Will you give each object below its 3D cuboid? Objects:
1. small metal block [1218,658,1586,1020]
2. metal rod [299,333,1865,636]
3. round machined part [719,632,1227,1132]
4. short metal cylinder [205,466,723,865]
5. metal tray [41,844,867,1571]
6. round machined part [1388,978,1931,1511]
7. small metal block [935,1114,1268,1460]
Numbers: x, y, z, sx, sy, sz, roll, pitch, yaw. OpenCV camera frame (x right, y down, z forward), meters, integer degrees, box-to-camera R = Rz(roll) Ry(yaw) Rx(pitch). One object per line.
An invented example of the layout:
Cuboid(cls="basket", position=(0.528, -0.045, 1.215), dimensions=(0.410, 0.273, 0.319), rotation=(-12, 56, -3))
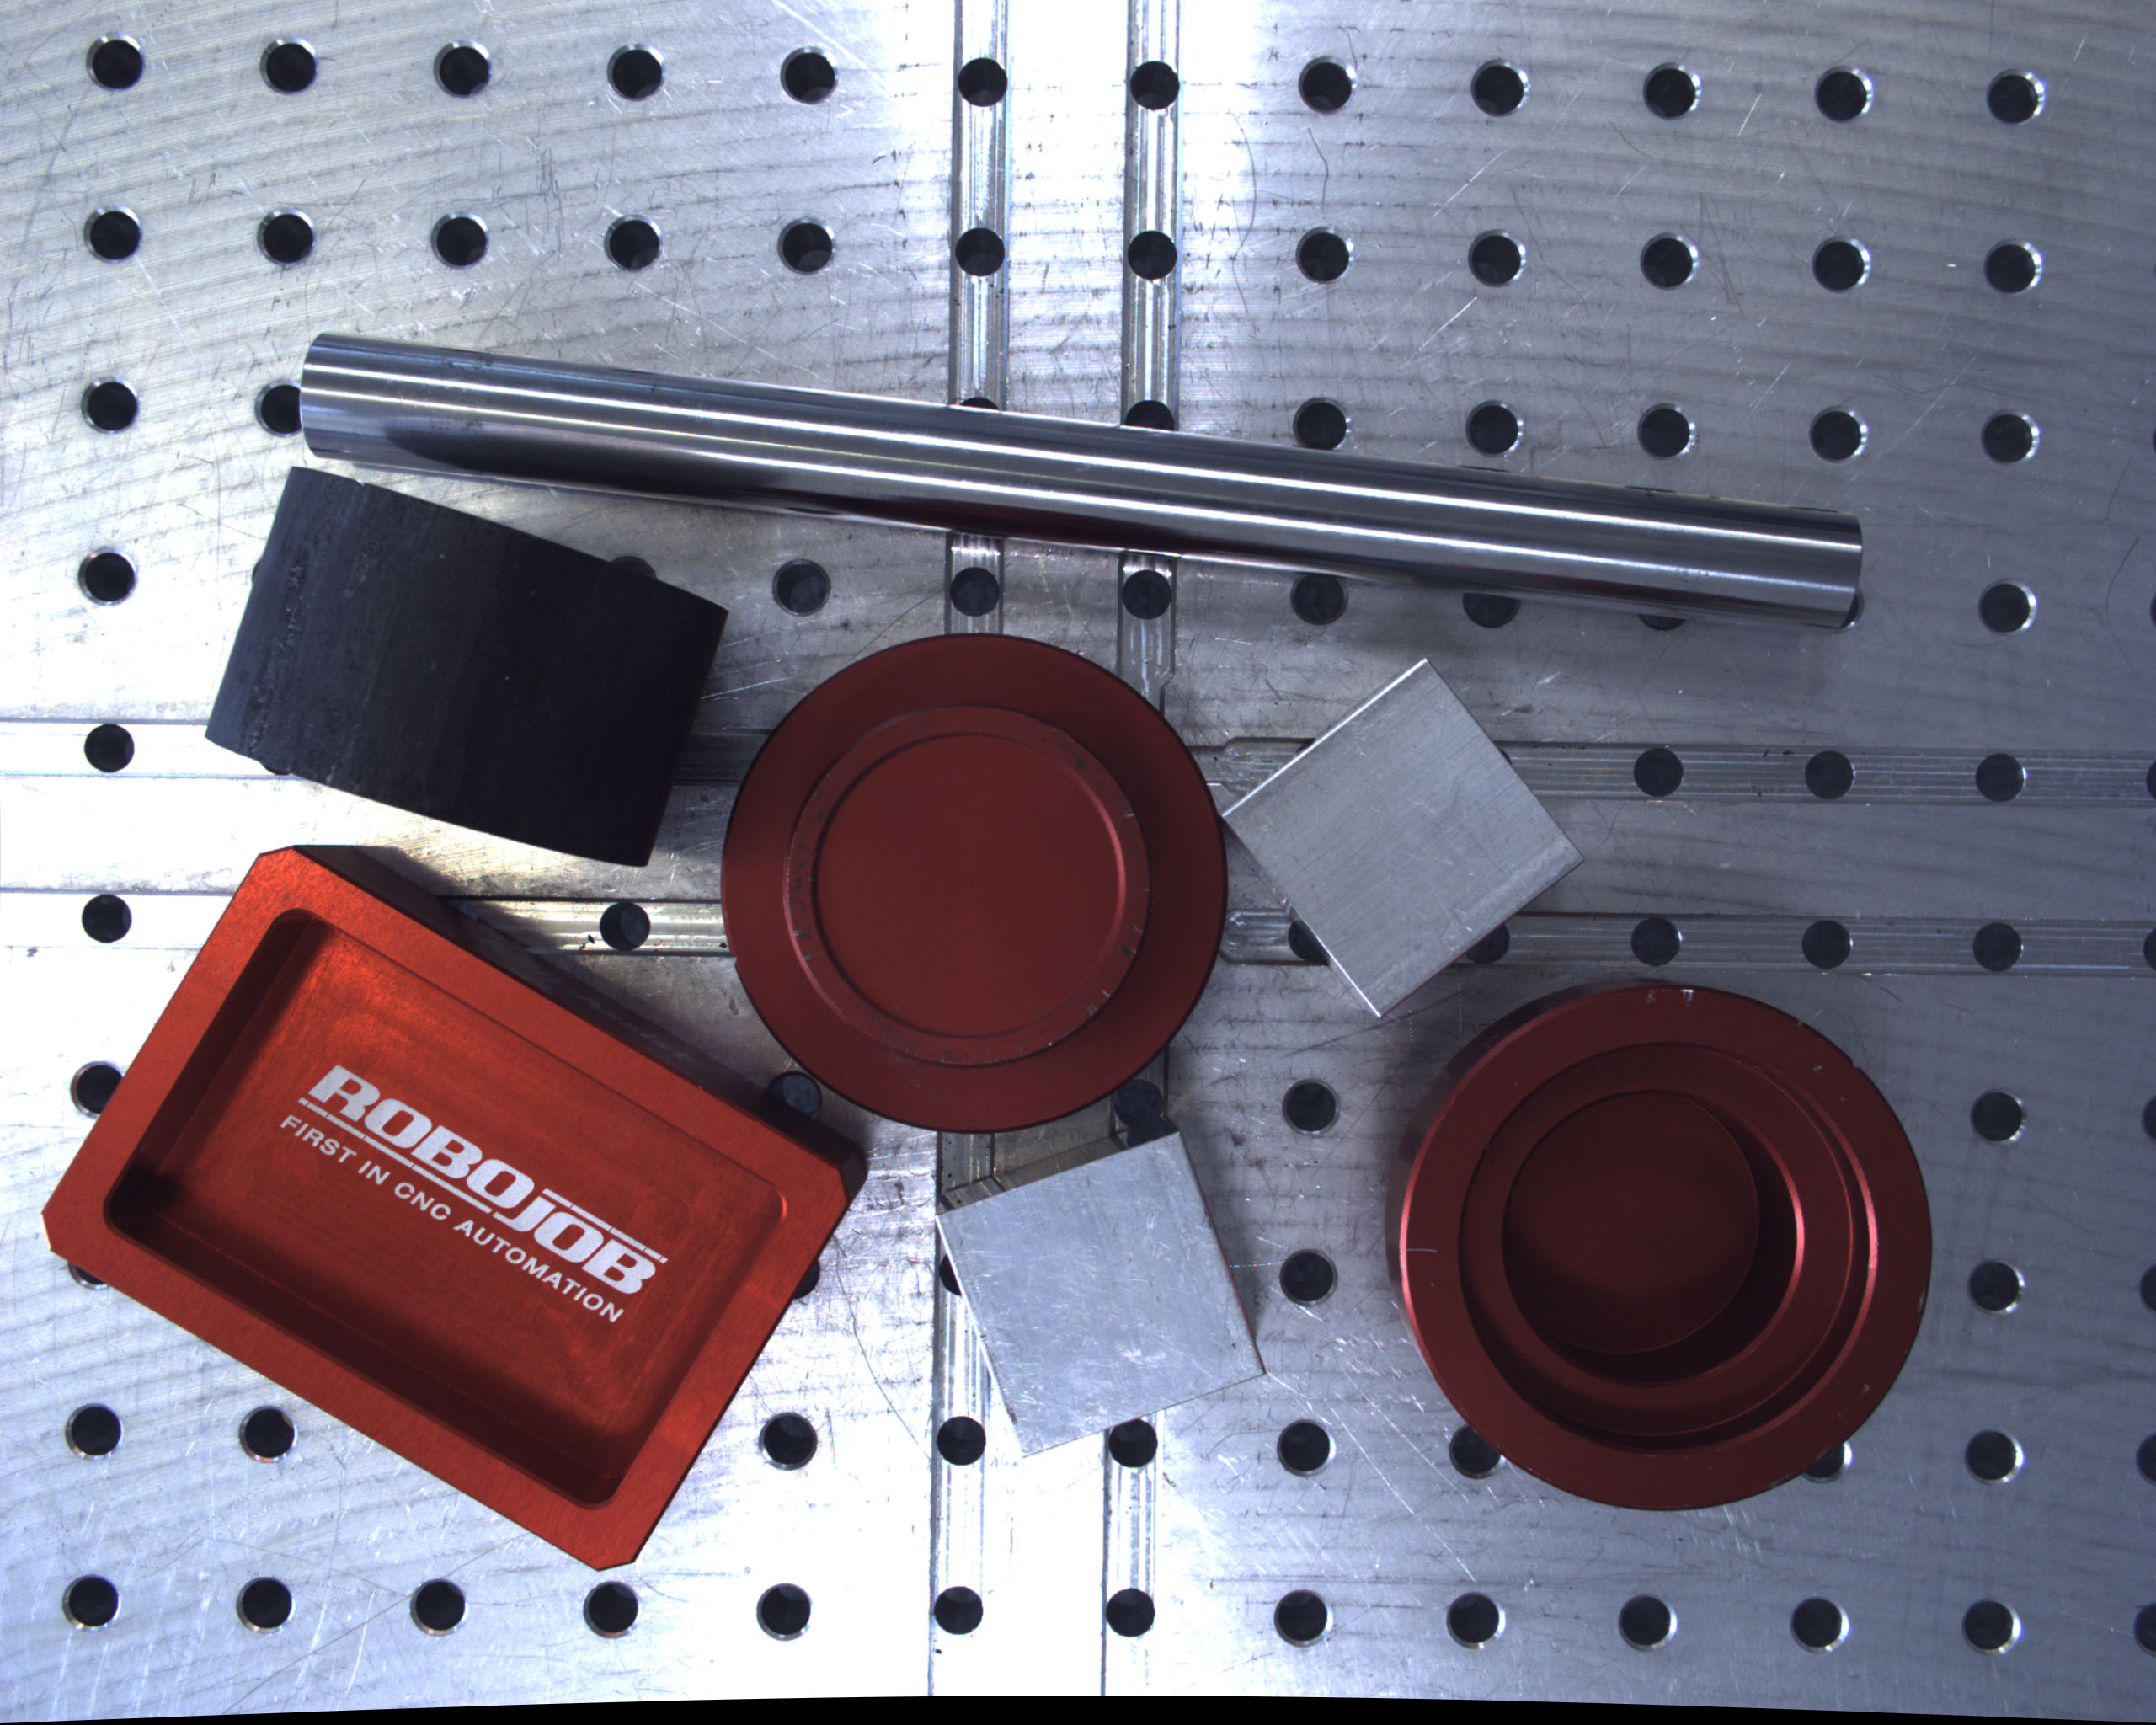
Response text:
Cuboid(cls="small metal block", position=(0.062, -0.005, 0.414), dimensions=(0.050, 0.025, 0.050), rotation=(-38, 90, 0))
Cuboid(cls="metal rod", position=(0.001, -0.075, 0.413), dimensions=(0.302, 0.025, 0.025), rotation=(7, 90, 0))
Cuboid(cls="round machined part", position=(-0.020, 0.003, 0.404), dimensions=(0.099, 0.042, 0.097), rotation=(0, 87, 0))
Cuboid(cls="short metal cylinder", position=(-0.111, -0.035, 0.385), dimensions=(0.080, 0.080, 0.050), rotation=(18, 90, 0))
Cuboid(cls="metal tray", position=(-0.120, 0.065, 0.409), dimensions=(0.130, 0.030, 0.090), rotation=(31, 90, 0))
Cuboid(cls="round machined part", position=(0.109, 0.071, 0.406), dimensions=(0.099, 0.042, 0.097), rotation=(0, 90, 0))
Cuboid(cls="small metal block", position=(0.005, 0.083, 0.413), dimensions=(0.050, 0.025, 0.050), rotation=(-19, 90, 0))
